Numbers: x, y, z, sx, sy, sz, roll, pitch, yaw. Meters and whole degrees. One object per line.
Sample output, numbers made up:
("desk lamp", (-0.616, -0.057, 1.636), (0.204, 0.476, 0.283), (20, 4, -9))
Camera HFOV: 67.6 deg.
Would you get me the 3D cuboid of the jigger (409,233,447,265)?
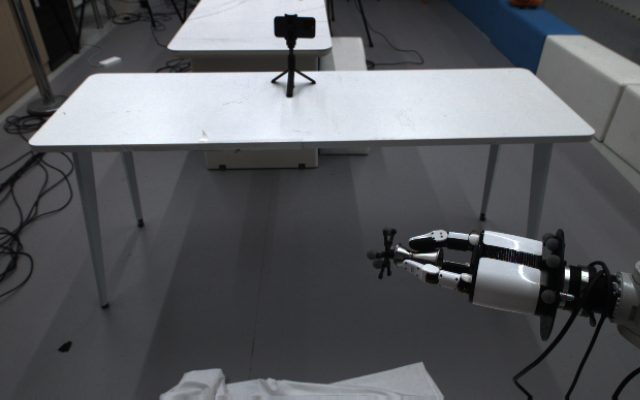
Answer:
("jigger", (0.161, 0.084, 0.755), (0.071, 0.043, 0.043), (5, 33, 27))
